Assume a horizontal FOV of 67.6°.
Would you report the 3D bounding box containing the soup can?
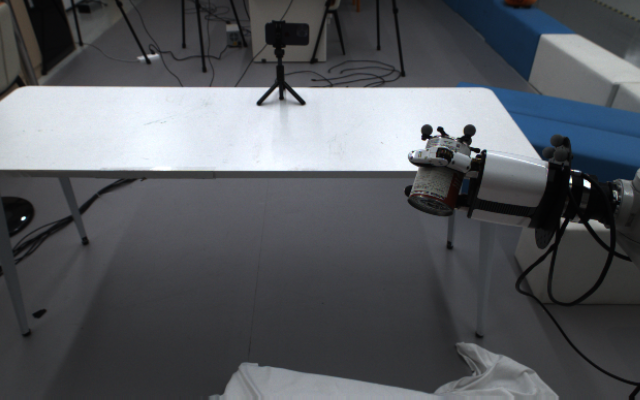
[{"bbox_3d":[0.177,-0.037,0.712,0.067,0.067,0.101,15,74,18],"label":"soup can"}]
